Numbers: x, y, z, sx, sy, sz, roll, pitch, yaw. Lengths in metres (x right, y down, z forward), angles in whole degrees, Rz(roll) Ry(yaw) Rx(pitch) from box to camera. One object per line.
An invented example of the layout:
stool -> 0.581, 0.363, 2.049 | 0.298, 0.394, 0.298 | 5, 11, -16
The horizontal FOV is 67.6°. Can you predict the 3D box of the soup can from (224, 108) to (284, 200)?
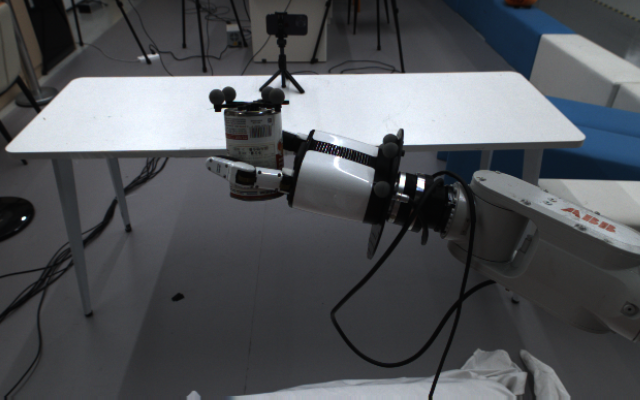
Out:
soup can -> -0.075, -0.056, 0.569 | 0.067, 0.101, 0.067 | -2, 17, 0
